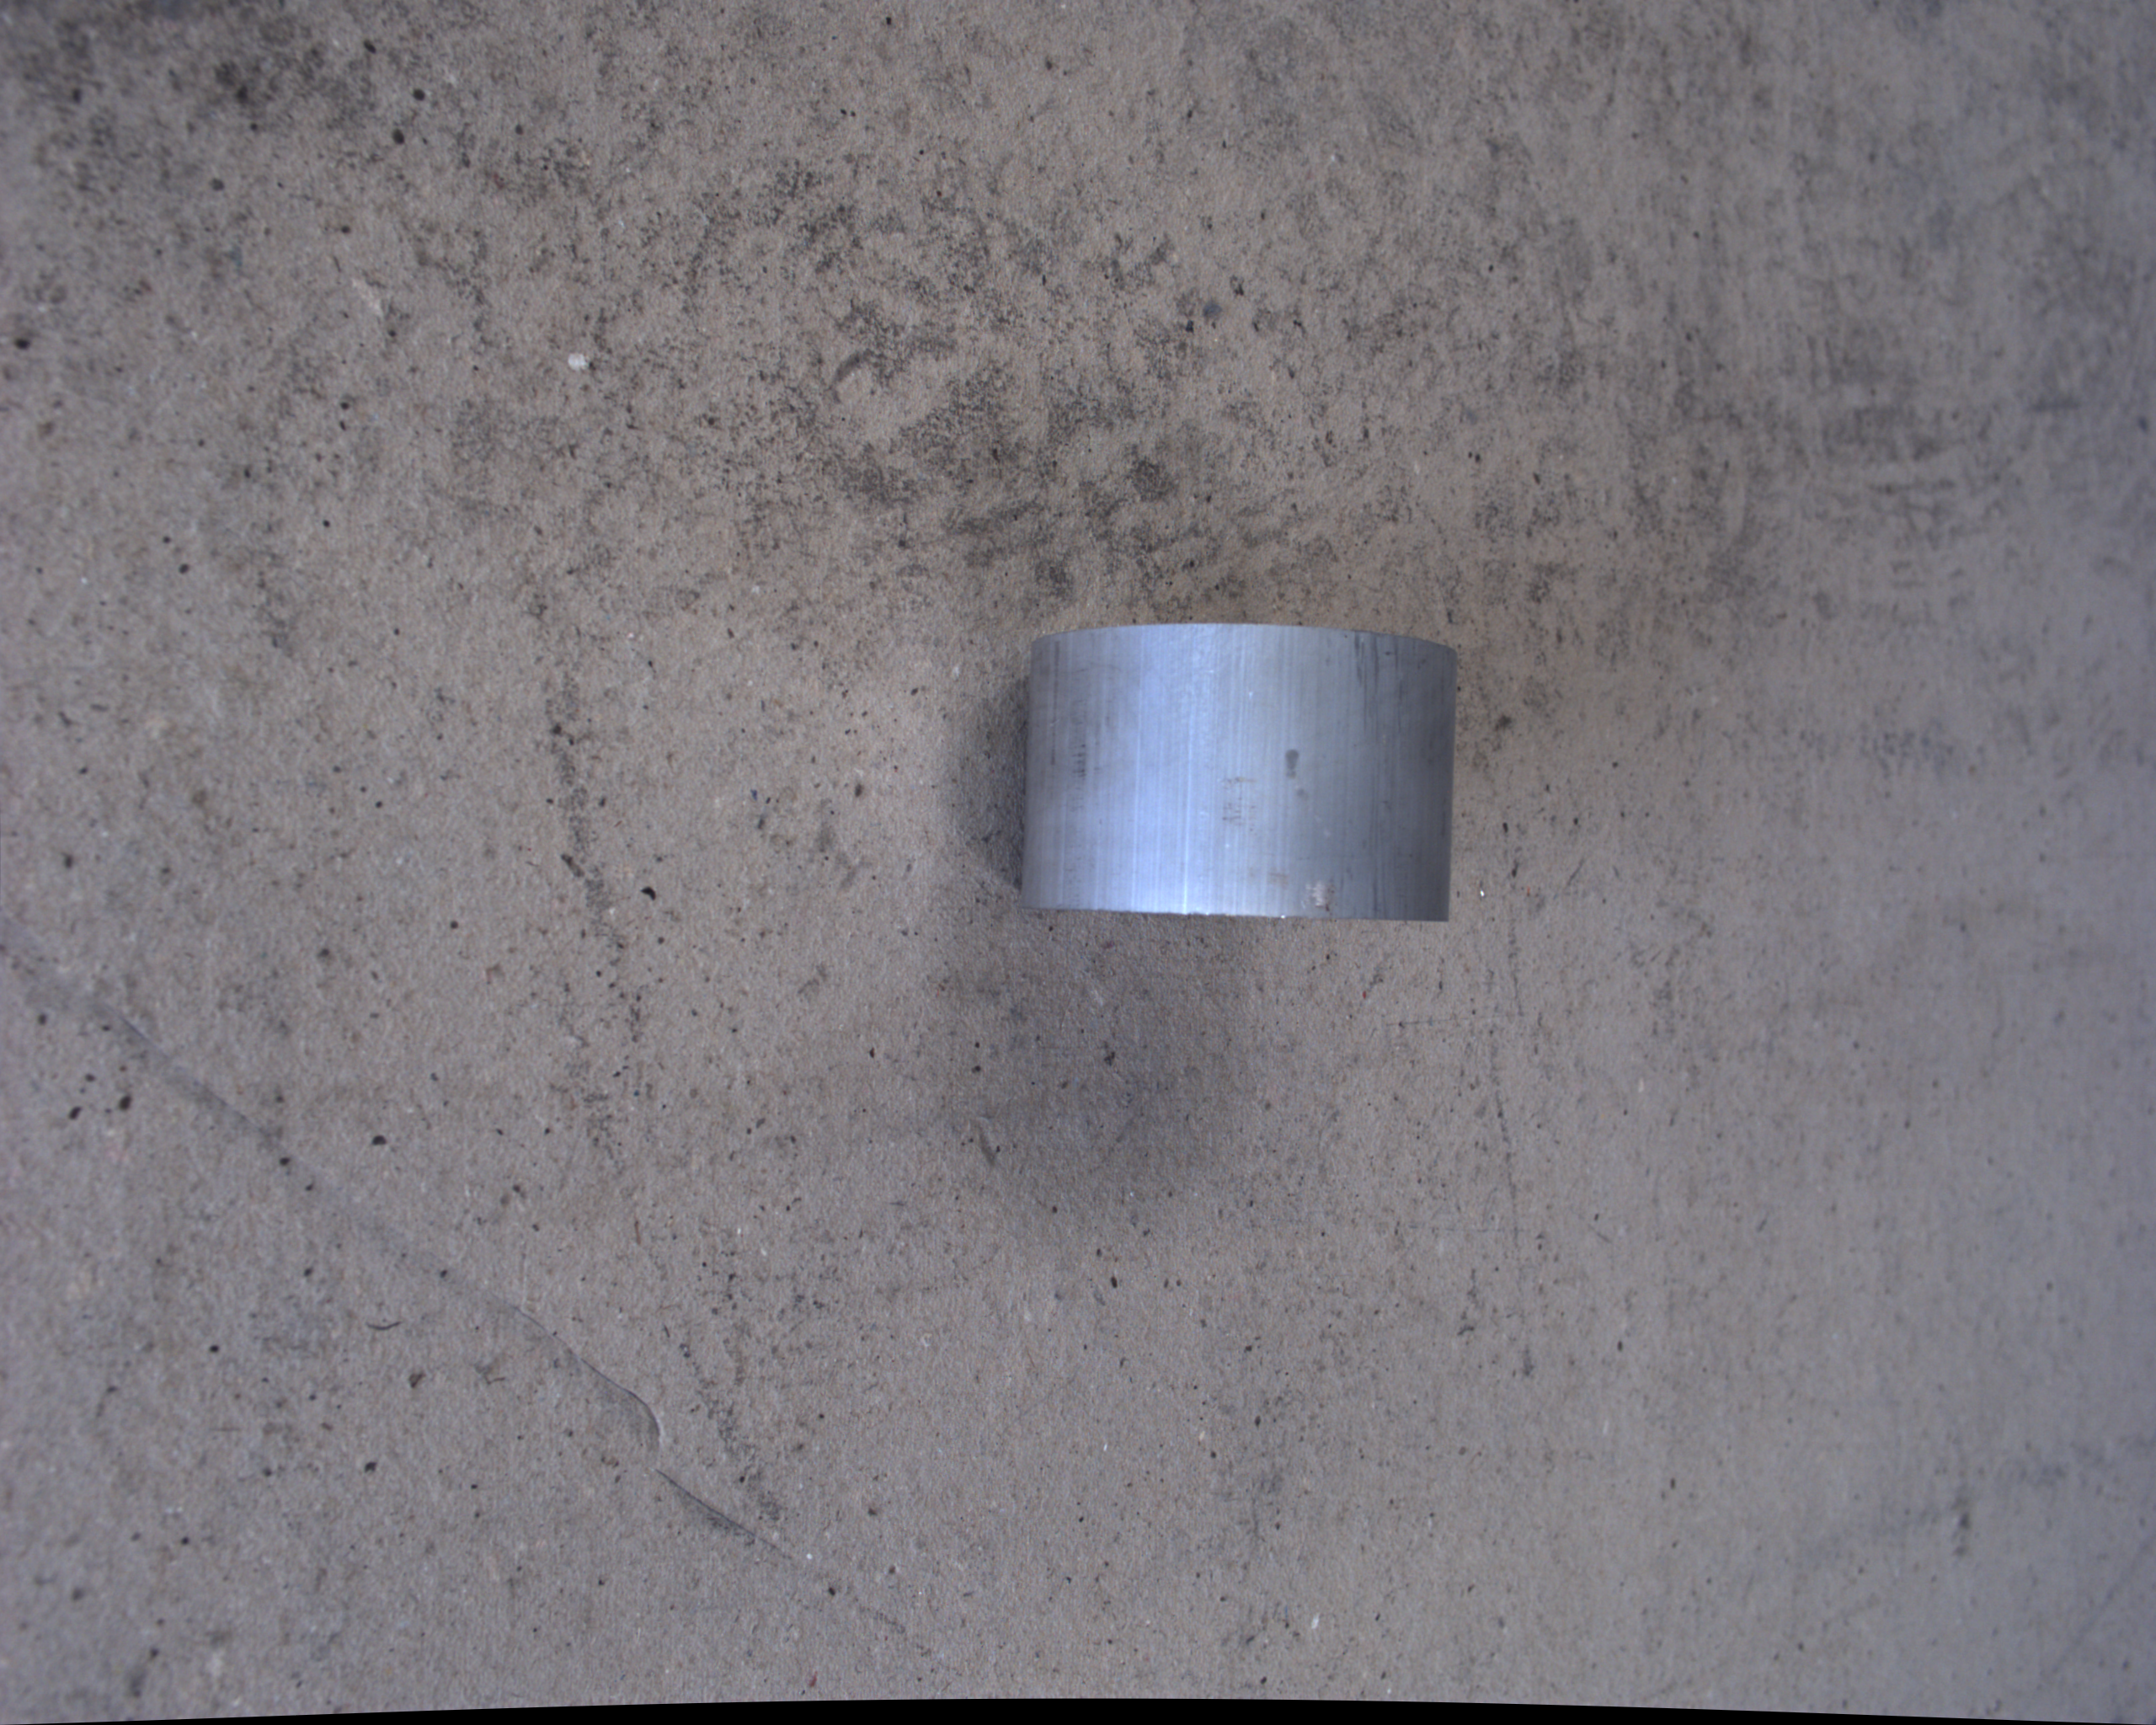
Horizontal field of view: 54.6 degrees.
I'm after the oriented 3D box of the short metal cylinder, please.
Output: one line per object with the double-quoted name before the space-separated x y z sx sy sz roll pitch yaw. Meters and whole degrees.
"short metal cylinder" 0.030 -0.015 0.395 0.081 0.080 0.050 2 89 -40
